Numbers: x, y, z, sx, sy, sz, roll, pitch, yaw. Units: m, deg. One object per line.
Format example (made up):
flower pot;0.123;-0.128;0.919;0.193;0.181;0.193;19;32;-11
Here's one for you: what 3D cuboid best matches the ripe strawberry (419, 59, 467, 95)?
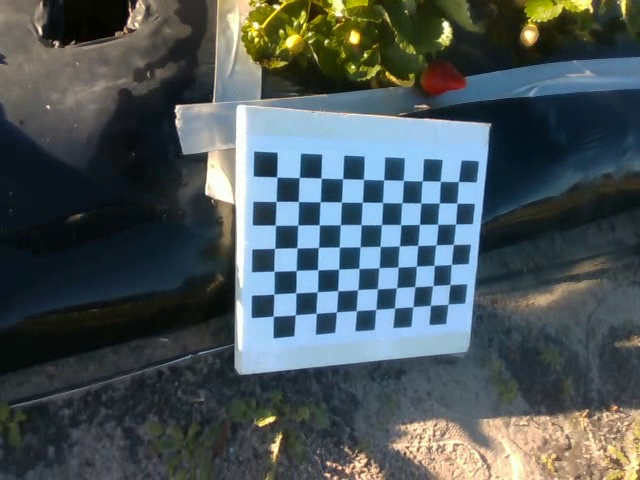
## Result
ripe strawberry;0.140;-0.185;0.704;0.063;0.045;0.048;27;1;37
